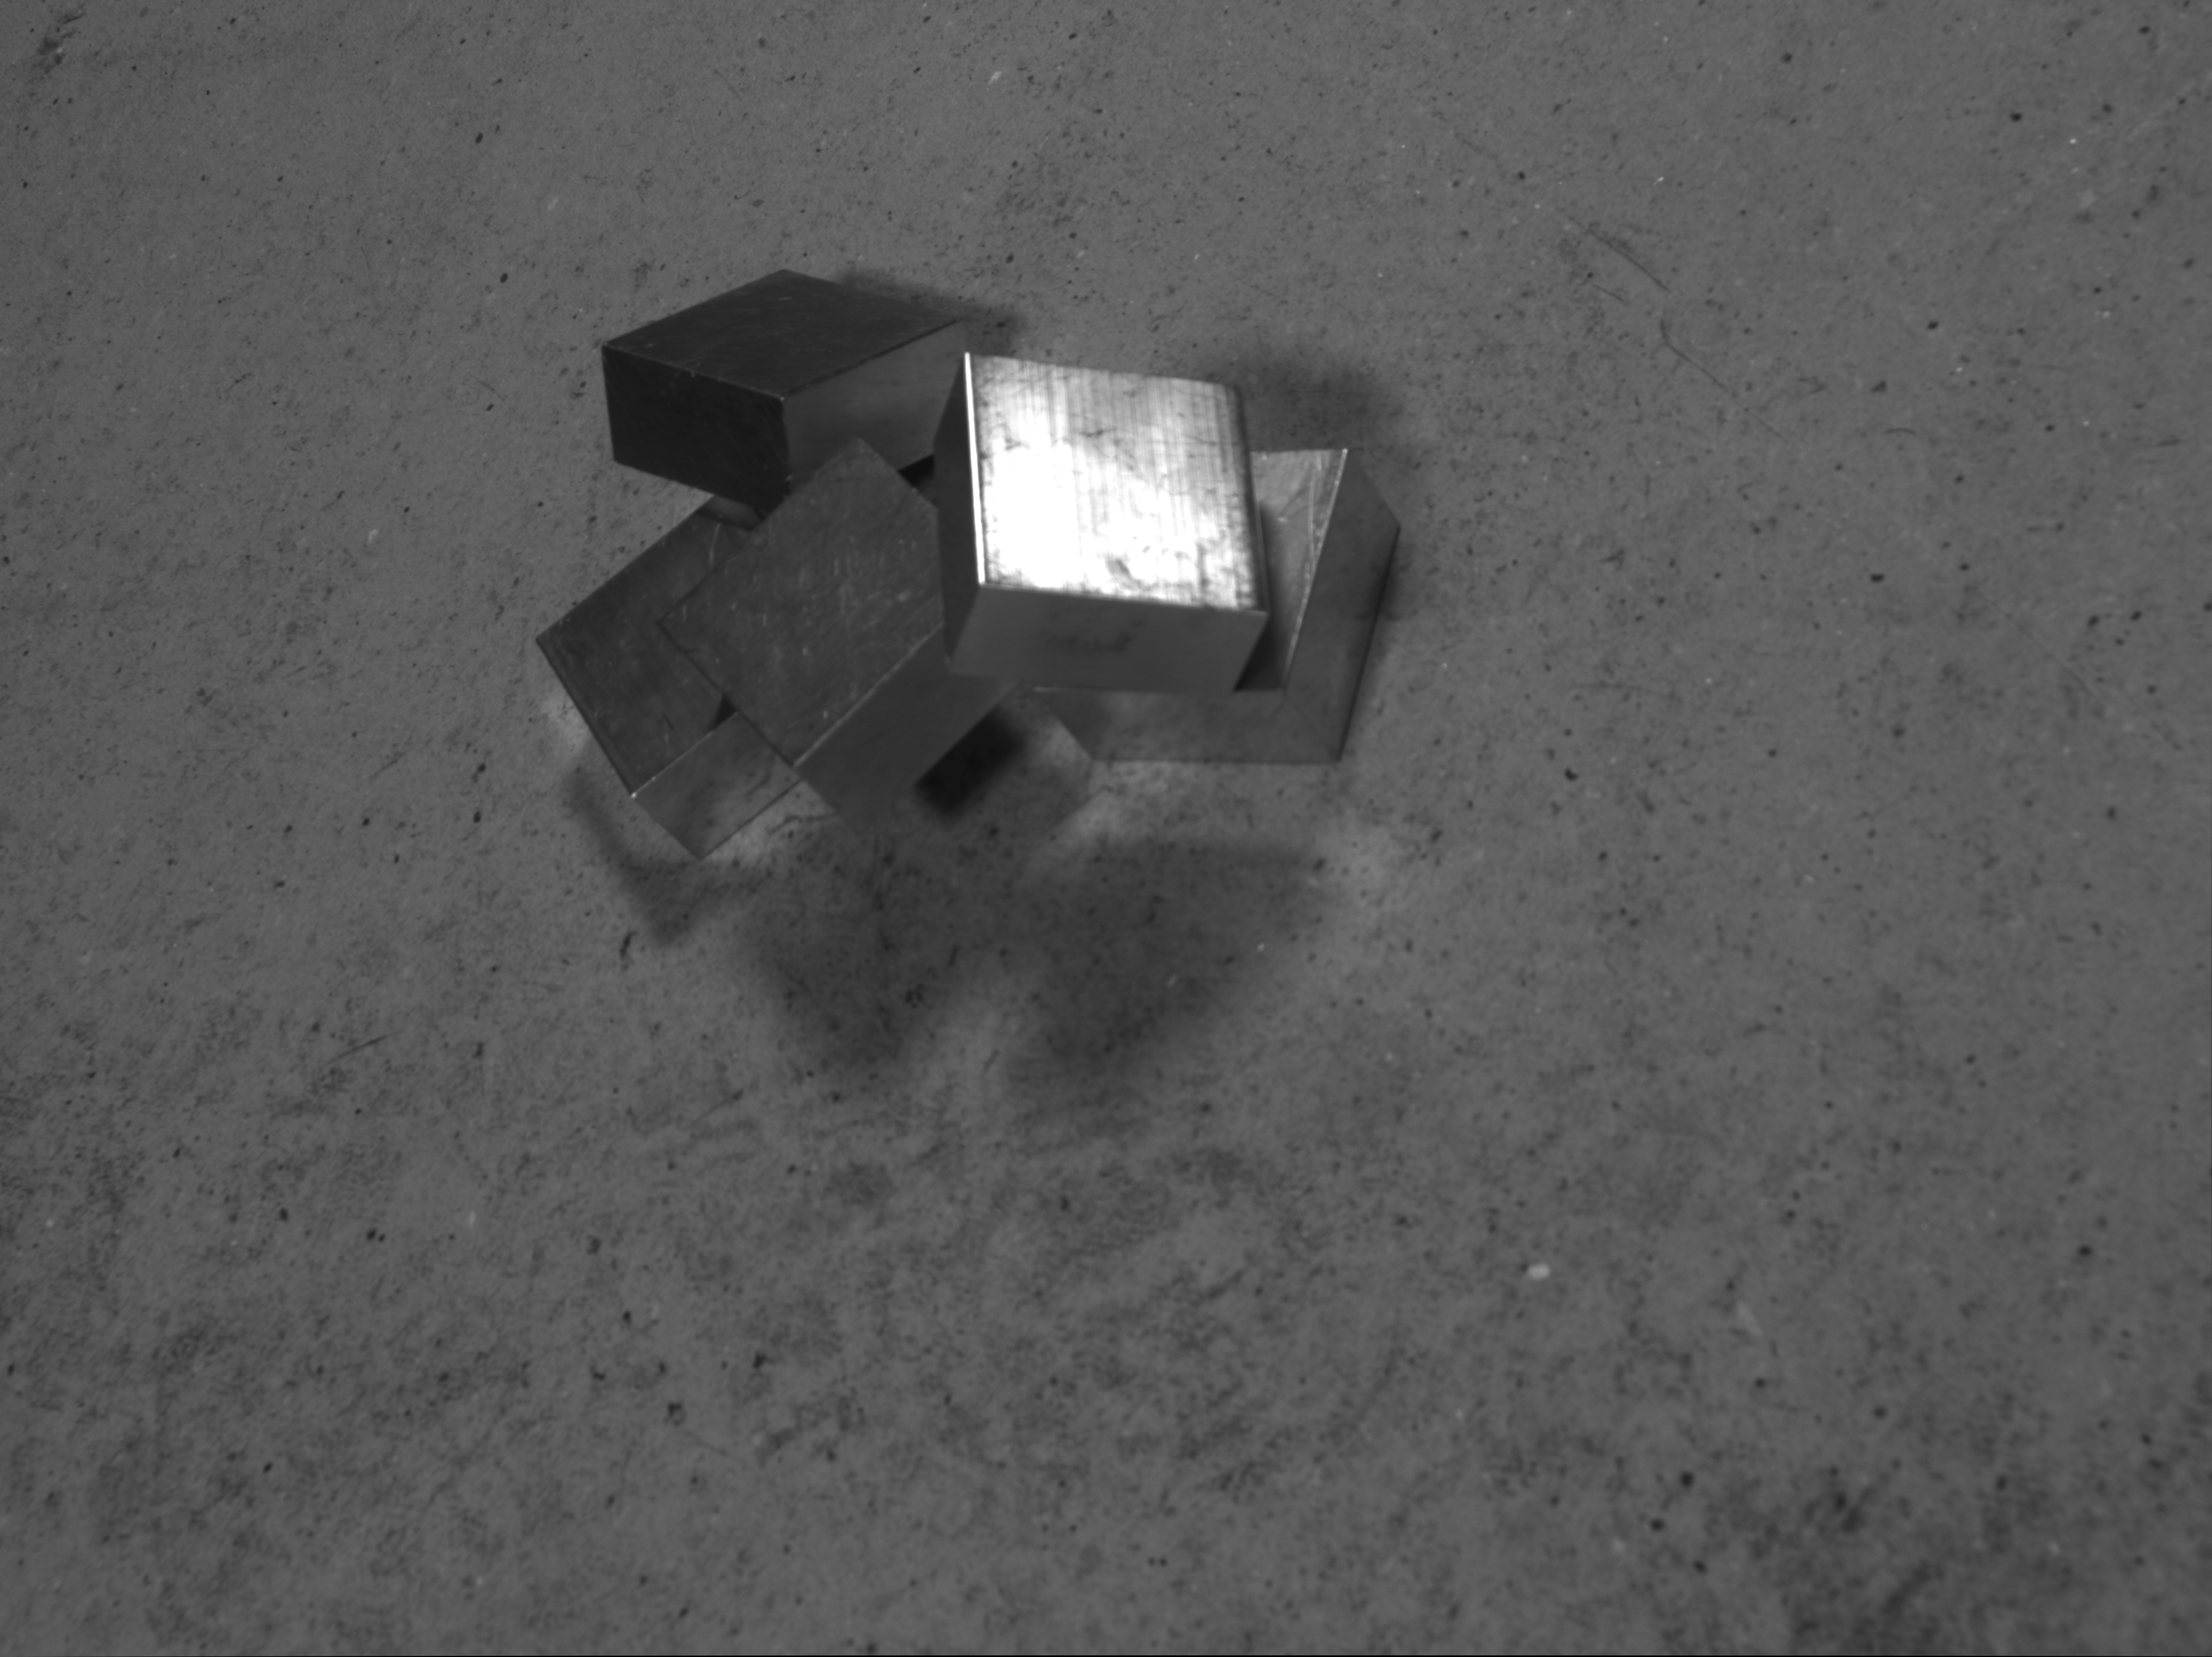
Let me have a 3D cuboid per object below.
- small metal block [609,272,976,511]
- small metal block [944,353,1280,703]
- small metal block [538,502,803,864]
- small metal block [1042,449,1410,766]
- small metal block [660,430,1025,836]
[{"bbox_3d":[-0.060,-0.085,0.714,0.050,0.025,0.050,20,36,36],"label":"small metal block"},{"bbox_3d":[0.000,-0.051,0.628,0.050,0.025,0.050,5,55,-15],"label":"small metal block"},{"bbox_3d":[-0.074,-0.030,0.702,0.050,0.025,0.050,-38,51,2],"label":"small metal block"},{"bbox_3d":[0.022,-0.040,0.657,0.050,0.025,0.050,2,62,29],"label":"small metal block"},{"bbox_3d":[-0.043,-0.035,0.656,0.050,0.025,0.050,-44,51,-2],"label":"small metal block"}]
